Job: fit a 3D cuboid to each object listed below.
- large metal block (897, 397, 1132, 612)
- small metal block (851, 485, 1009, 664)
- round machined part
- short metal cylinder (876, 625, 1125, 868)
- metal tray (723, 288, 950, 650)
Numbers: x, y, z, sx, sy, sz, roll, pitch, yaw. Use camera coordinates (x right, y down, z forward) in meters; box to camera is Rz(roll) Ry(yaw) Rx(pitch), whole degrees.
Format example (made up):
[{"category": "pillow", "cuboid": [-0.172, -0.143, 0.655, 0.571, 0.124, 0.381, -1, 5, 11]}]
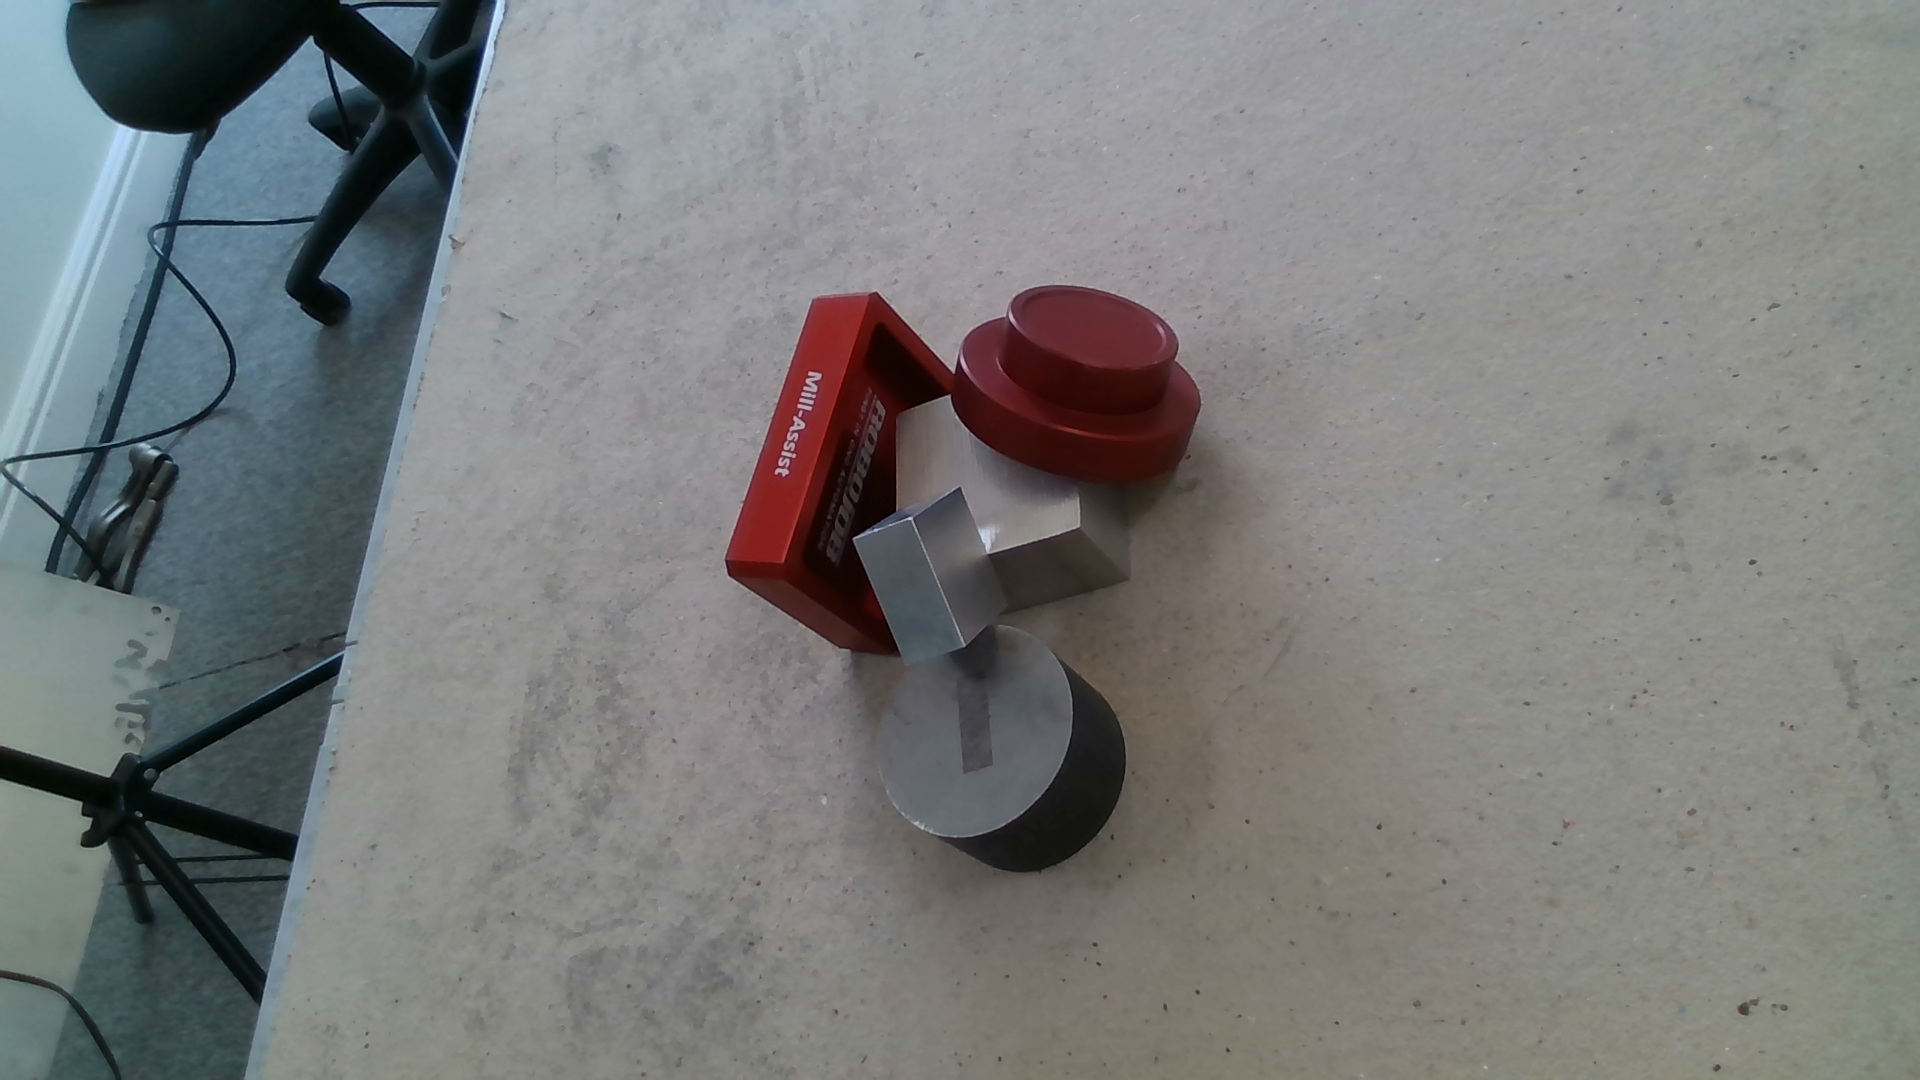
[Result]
[{"category": "large metal block", "cuboid": [0.021, -0.019, 0.569, 0.080, 0.050, 0.080, -16, 58, 24]}, {"category": "small metal block", "cuboid": [-0.010, 0.012, 0.511, 0.025, 0.050, 0.050, -20, 98, 25]}, {"category": "round machined part", "cuboid": [0.047, -0.068, 0.545, 0.098, 0.098, 0.042, 47, 138, 39]}, {"category": "short metal cylinder", "cuboid": [0.016, 0.078, 0.520, 0.080, 0.050, 0.080, -14, 59, 25]}, {"category": "metal tray", "cuboid": [-0.044, -0.029, 0.586, 0.030, 0.090, 0.130, 3, 67, 33]}]
